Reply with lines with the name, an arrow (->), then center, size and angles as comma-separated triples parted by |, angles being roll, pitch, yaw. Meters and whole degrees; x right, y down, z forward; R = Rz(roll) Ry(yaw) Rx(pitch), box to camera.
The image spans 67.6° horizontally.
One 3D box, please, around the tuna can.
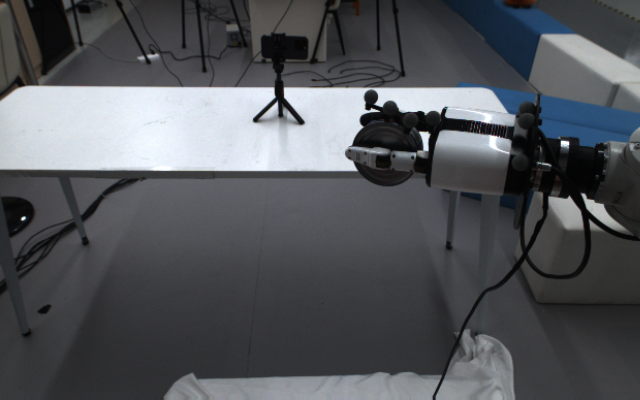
tuna can -> 0.088, -0.064, 0.614 | 0.085, 0.085, 0.034 | 16, 28, 19
